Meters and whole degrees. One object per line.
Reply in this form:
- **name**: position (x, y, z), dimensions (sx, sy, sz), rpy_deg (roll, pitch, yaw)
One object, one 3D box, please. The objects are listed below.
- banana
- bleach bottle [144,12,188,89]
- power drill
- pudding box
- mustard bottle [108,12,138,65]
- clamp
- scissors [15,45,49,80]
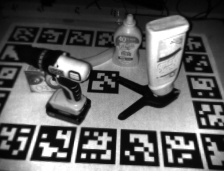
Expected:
- **banana**: position (-0.070, -0.131, 0.782), dimensions (0.199, 0.039, 0.073), rpy_deg (-30, 41, -24)
- **bleach bottle**: position (0.141, -0.073, 0.602), dimensions (0.103, 0.253, 0.067), rpy_deg (-17, 49, -5)
- **power drill**: position (-0.155, -0.013, 0.559), dimensions (0.183, 0.188, 0.057), rpy_deg (11, 45, 10)
- **pudding box**: position (-0.211, -0.033, 0.670), dimensions (0.114, 0.090, 0.038), rpy_deg (6, 45, 2)
- **mustard bottle**: position (0.038, -0.156, 0.724), dimensions (0.096, 0.192, 0.058), rpy_deg (14, 52, 8)
- **clamp**: position (0.103, 0.004, 0.673), dimensions (0.203, 0.037, 0.164), rpy_deg (-1, 54, -6)
- **scissors**: position (-0.218, -0.079, 0.625), dimensions (0.201, 0.016, 0.088), rpy_deg (25, 58, 11)
